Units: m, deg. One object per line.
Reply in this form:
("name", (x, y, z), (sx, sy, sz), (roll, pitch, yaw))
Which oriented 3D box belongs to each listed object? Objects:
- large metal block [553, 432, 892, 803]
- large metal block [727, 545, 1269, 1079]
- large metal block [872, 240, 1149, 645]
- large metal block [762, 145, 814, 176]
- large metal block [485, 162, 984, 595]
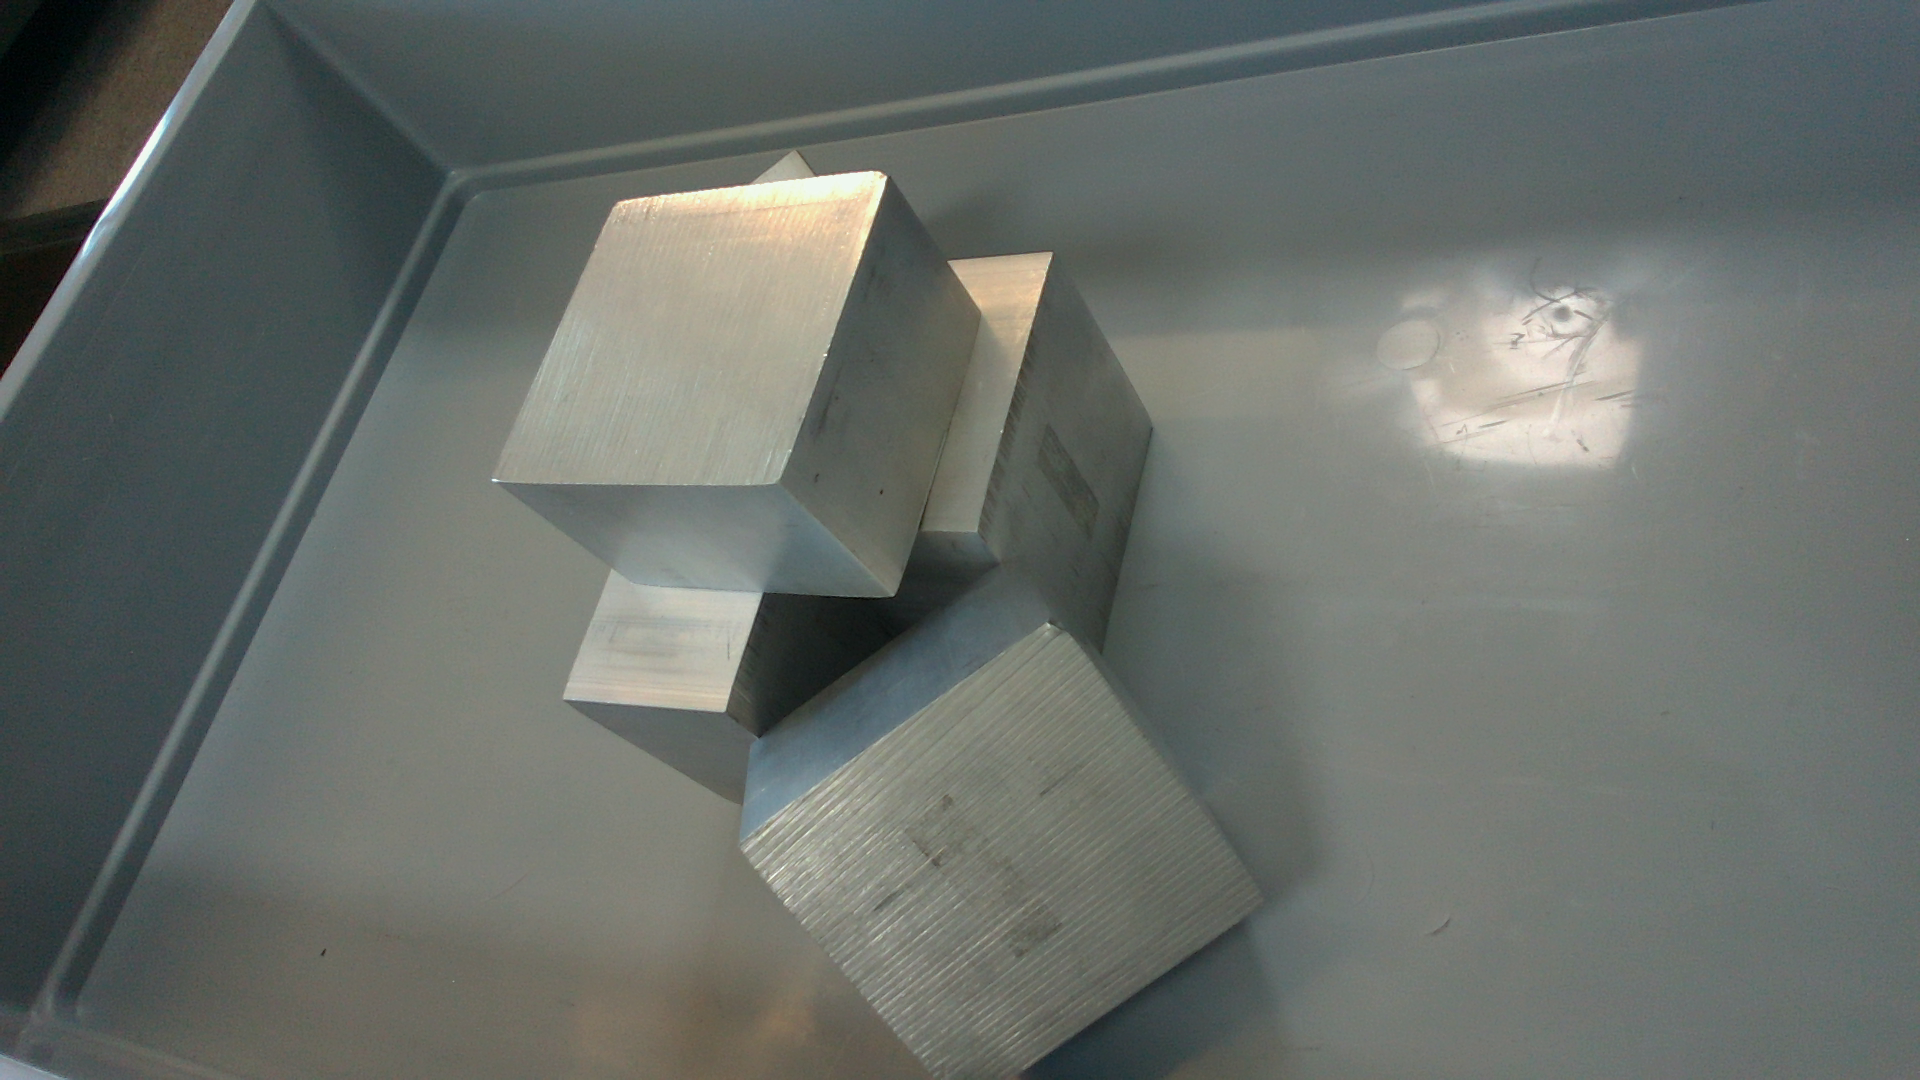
("large metal block", (-0.050, 0.024, 0.369), (0.050, 0.080, 0.080), (1, 62, 29))
("large metal block", (0.007, 0.062, 0.305), (0.080, 0.080, 0.050), (-36, 16, 4))
("large metal block", (0.007, -0.020, 0.364), (0.050, 0.080, 0.080), (1, 62, 29))
("large metal block", (-0.058, -0.063, 0.418), (0.080, 0.080, 0.050), (-37, 86, 3))
("large metal block", (-0.050, -0.036, 0.321), (0.080, 0.050, 0.080), (2, 62, 29))
